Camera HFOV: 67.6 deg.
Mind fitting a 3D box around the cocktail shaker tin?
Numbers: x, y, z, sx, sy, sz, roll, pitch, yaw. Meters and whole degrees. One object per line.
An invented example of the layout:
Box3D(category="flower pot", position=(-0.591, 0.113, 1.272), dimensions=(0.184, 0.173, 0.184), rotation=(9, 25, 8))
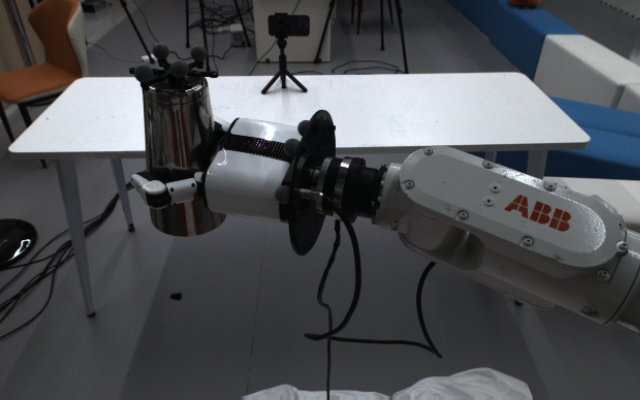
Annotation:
Box3D(category="cocktail shaker tin", position=(-0.153, -0.053, 0.549), dimensions=(0.093, 0.170, 0.093), rotation=(3, 34, -2))
